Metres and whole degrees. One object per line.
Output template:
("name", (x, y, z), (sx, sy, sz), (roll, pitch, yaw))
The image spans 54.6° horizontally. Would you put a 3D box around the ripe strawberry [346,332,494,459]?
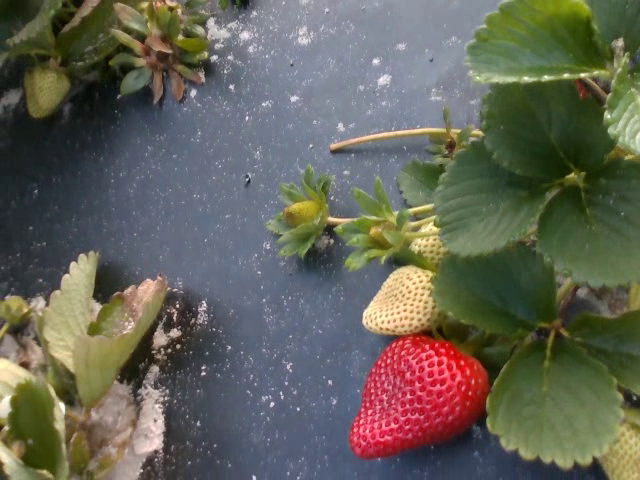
("ripe strawberry", (0.029, 0.063, 0.236), (0.055, 0.048, 0.051), (-27, 19, -22))
